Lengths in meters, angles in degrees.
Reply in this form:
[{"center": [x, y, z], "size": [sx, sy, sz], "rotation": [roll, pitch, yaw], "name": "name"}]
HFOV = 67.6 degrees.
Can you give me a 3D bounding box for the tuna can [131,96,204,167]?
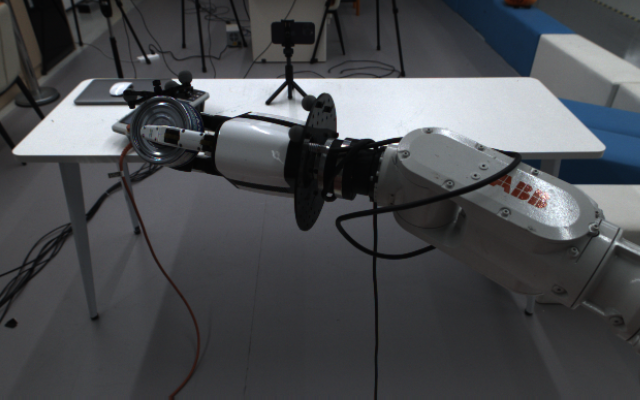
[{"center": [-0.185, -0.078, 0.593], "size": [0.085, 0.085, 0.034], "rotation": [12, 3, 14], "name": "tuna can"}]
